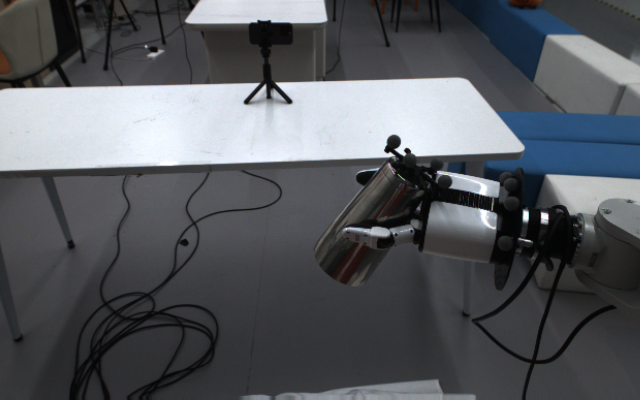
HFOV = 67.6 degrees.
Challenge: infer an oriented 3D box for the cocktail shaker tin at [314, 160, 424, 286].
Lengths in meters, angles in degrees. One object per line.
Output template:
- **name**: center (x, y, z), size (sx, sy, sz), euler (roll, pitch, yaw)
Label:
- **cocktail shaker tin**: center (0.073, 0.023, 0.656), size (0.093, 0.170, 0.093), euler (26, 32, -17)
